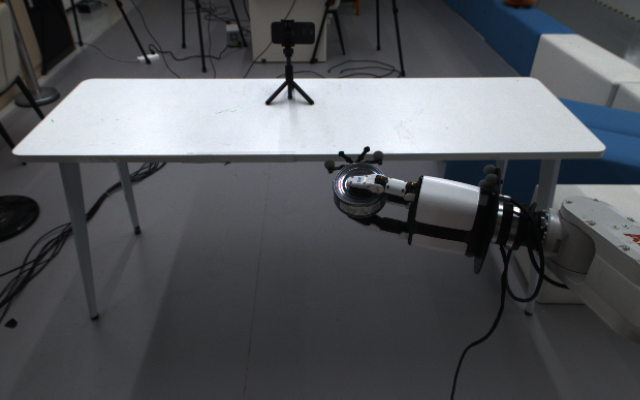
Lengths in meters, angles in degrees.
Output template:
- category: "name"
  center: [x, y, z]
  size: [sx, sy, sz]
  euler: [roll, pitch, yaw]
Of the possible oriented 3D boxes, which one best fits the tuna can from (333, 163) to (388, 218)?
- category: "tuna can"
  center: [0.067, -0.011, 0.751]
  size: [0.085, 0.034, 0.085]
  euler: [-3, 58, 5]
